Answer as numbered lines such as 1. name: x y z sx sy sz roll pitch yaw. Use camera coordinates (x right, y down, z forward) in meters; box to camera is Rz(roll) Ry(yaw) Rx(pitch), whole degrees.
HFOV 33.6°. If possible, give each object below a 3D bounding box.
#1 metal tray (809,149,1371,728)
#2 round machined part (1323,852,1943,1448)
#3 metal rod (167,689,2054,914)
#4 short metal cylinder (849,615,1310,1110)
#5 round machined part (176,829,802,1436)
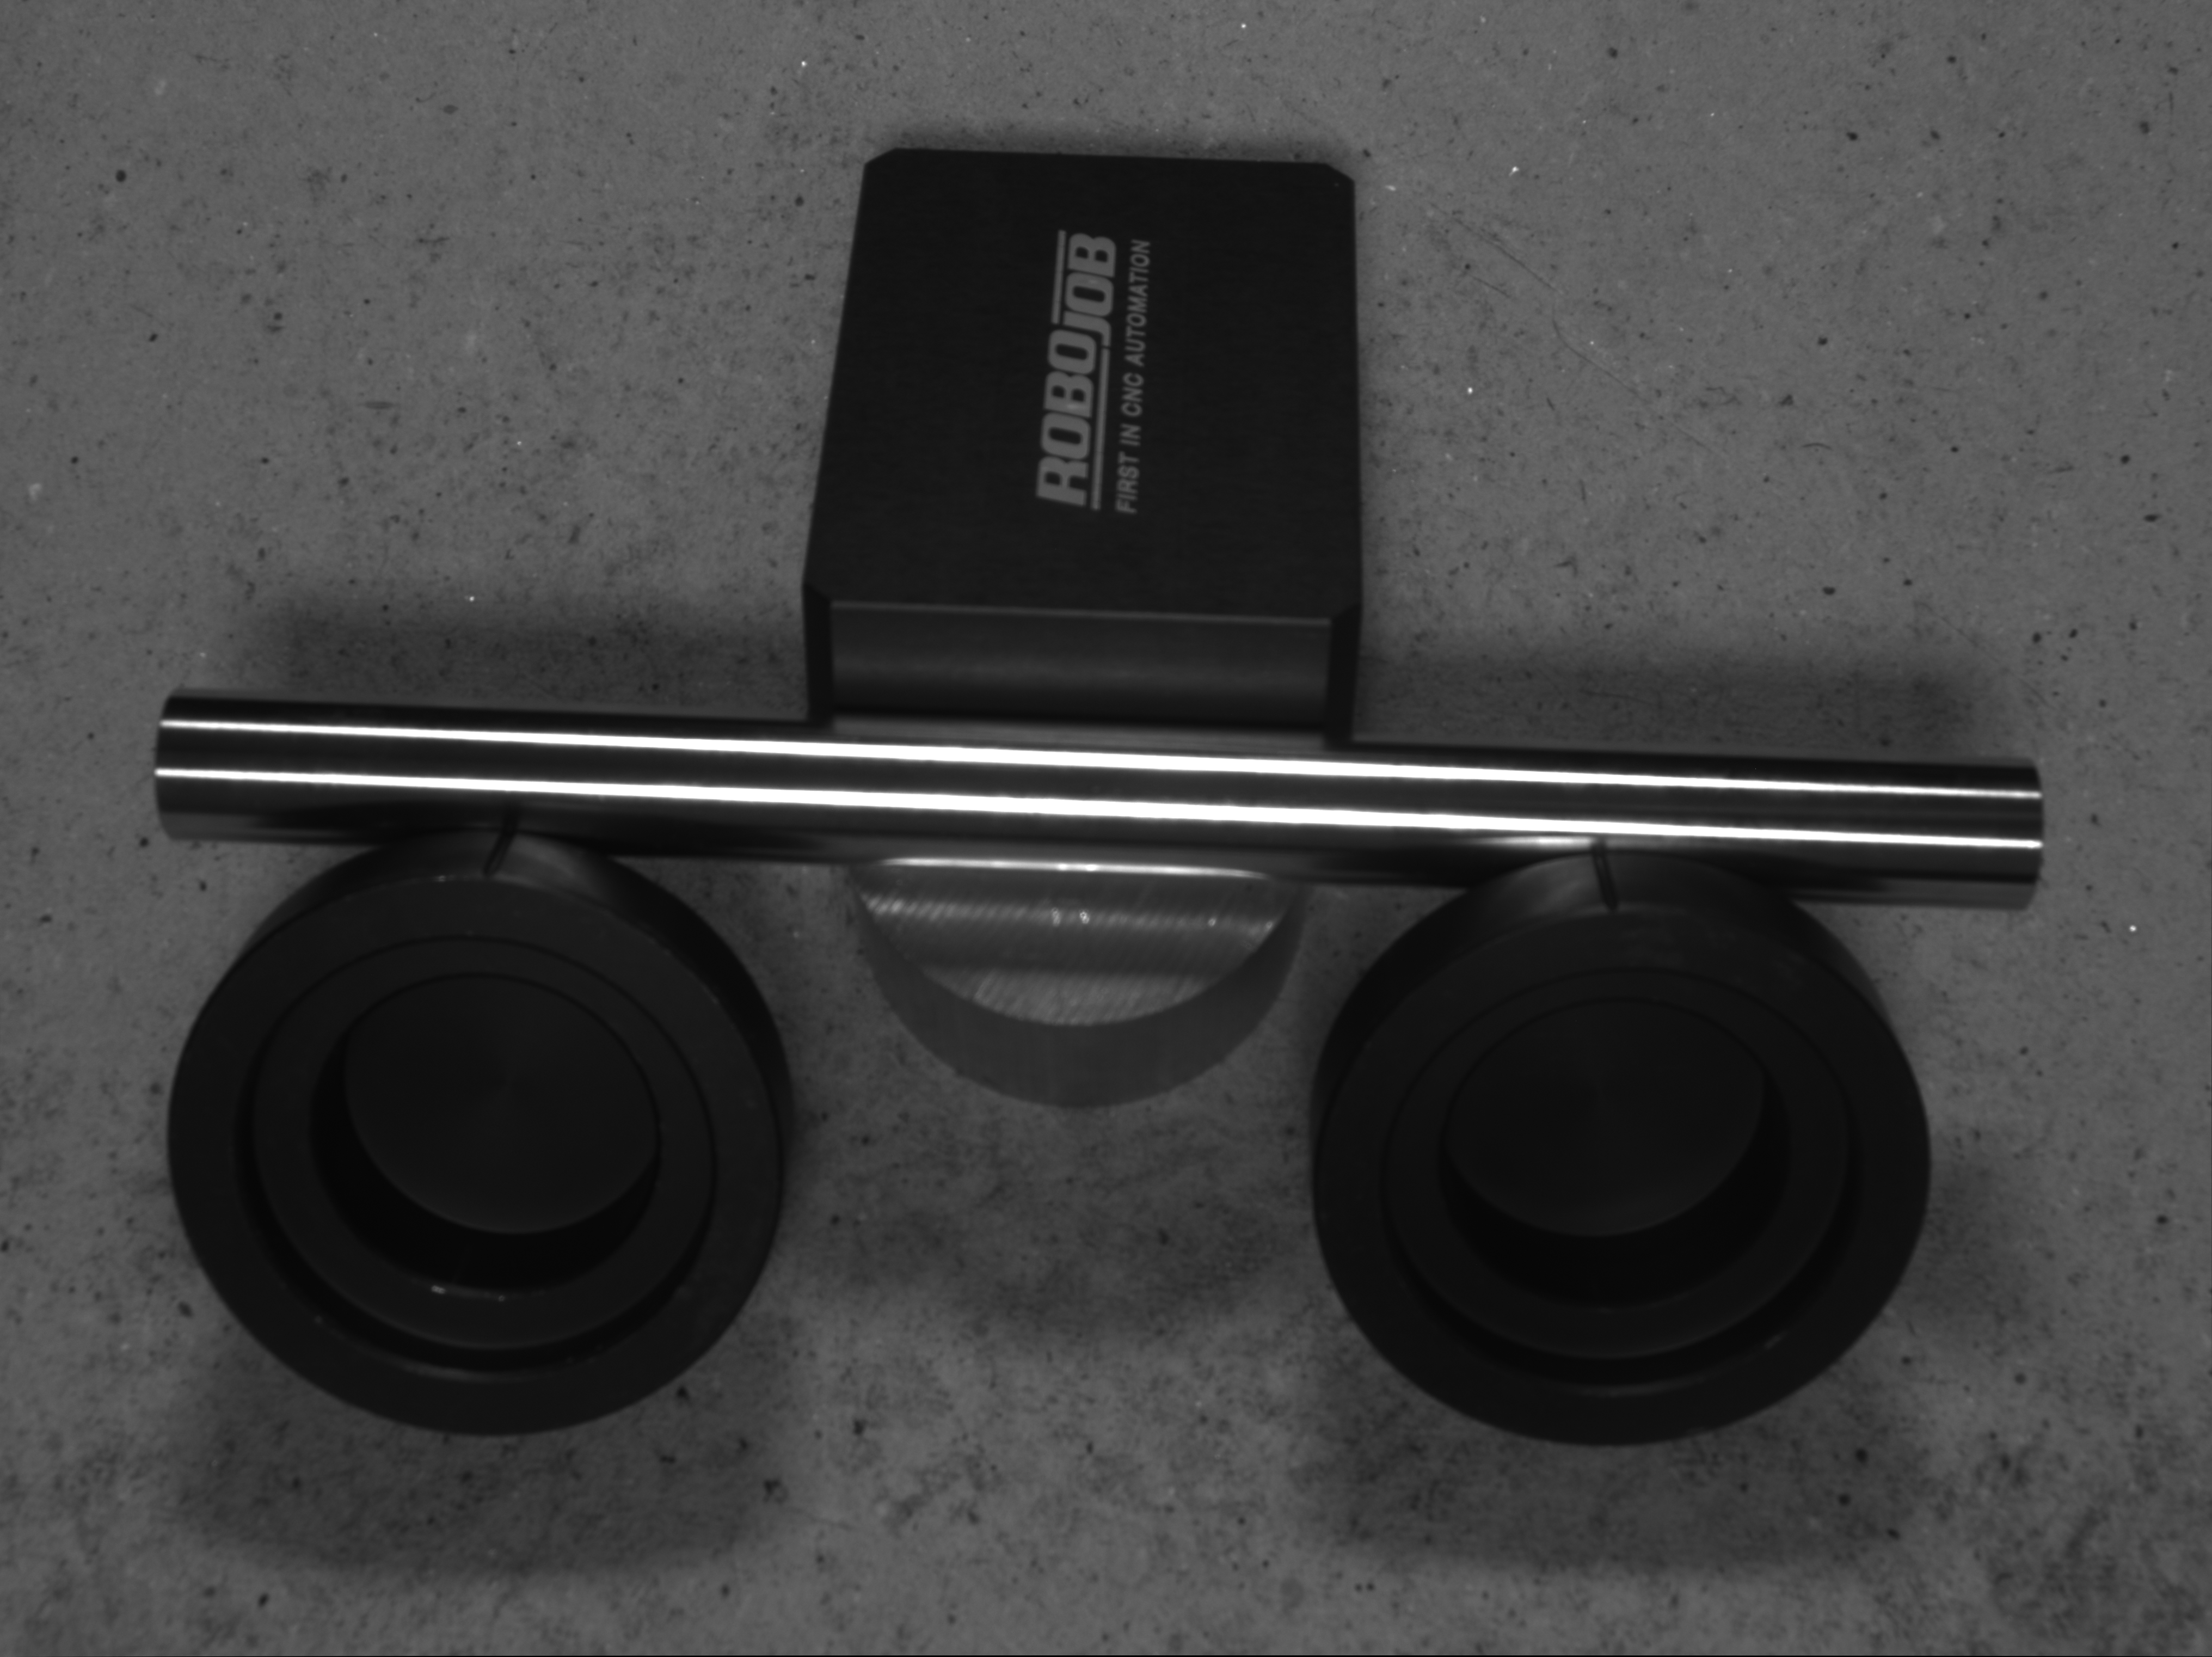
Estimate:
1. metal tray: -0.001 -0.069 0.639 0.090 0.030 0.130 2 44 1
2. round machined part: 0.084 0.049 0.599 0.098 0.042 0.098 0 112 1
3. metal rod: 0.000 -0.004 0.594 0.300 0.025 0.025 2 70 1
4. short metal cylinder: -0.004 0.003 0.631 0.080 0.050 0.080 0 70 0
5. round machined part: -0.099 0.046 0.602 0.098 0.042 0.098 0 108 0
